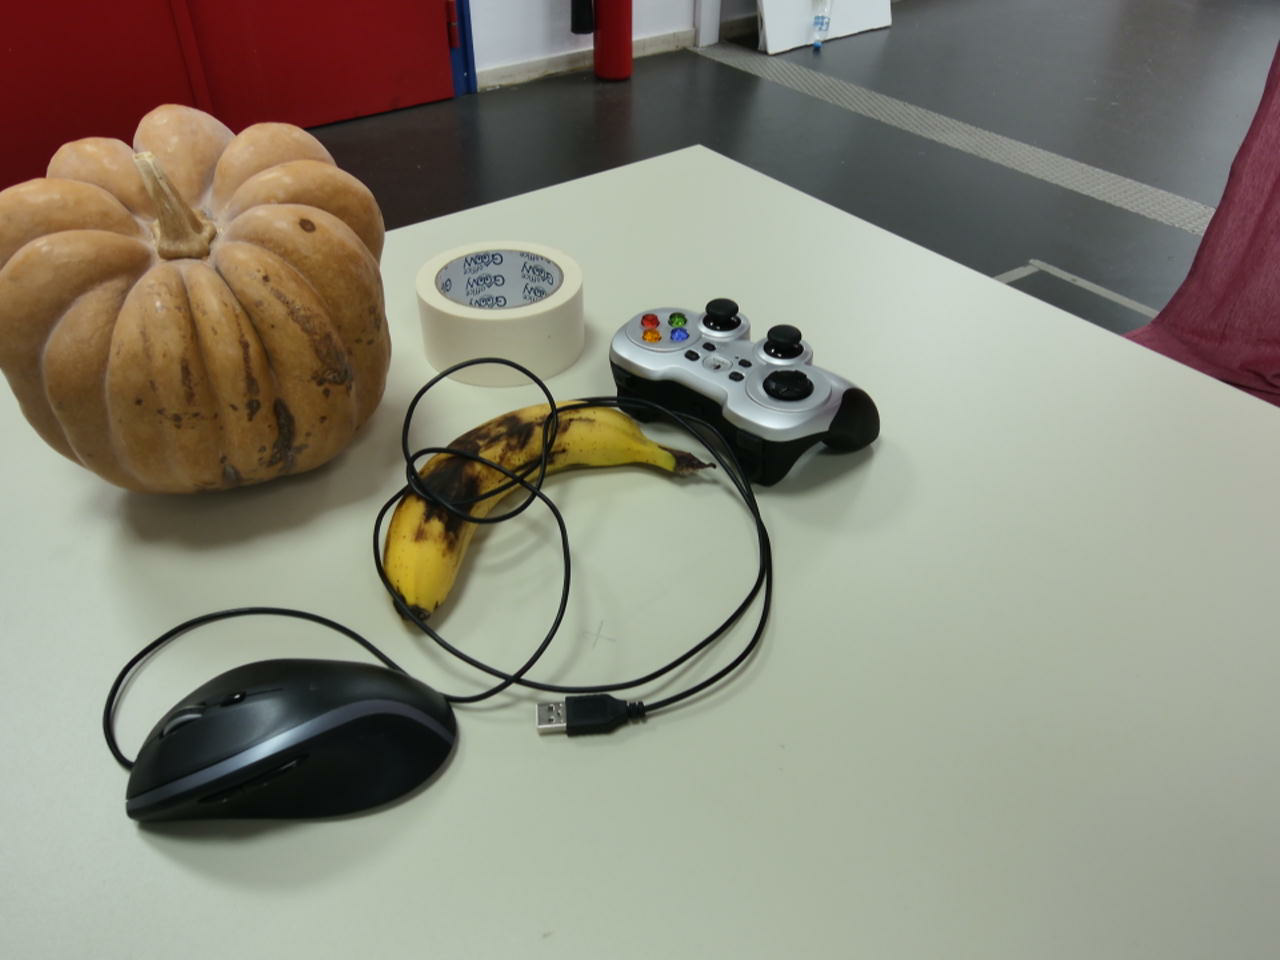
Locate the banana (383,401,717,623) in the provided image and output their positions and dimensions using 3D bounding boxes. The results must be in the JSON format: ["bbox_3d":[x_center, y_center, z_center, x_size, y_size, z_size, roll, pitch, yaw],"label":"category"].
[{"bbox_3d":[-0.062,0.002,0.520,0.187,0.039,0.094,-26,45,-31],"label":"banana"}]
